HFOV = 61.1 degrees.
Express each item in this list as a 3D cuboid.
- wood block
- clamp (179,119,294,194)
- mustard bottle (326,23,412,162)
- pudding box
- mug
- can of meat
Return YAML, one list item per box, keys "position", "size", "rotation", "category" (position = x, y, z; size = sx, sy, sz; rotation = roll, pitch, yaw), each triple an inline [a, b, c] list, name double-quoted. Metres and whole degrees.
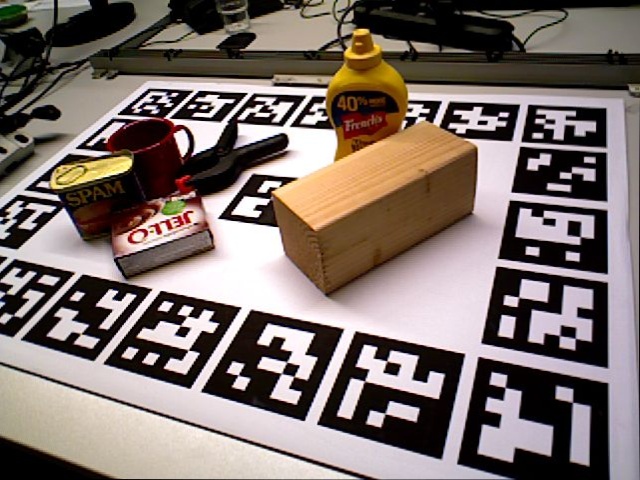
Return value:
- position: [0.068, -0.036, 0.576]
  size: [0.203, 0.093, 0.089]
  rotation: [-26, 42, -19]
  category: "wood block"
- position: [-0.130, -0.115, 0.753]
  size: [0.122, 0.037, 0.162]
  rotation: [26, 56, 33]
  category: "clamp"
- position: [0.057, -0.151, 0.620]
  size: [0.096, 0.195, 0.057]
  rotation: [4, 44, 18]
  category: "mustard bottle"
- position: [-0.185, -0.008, 0.639]
  size: [0.113, 0.039, 0.089]
  rotation: [-18, 42, -9]
  category: "pudding box"
- position: [-0.221, -0.103, 0.754]
  size: [0.093, 0.083, 0.115]
  rotation: [28, 56, 35]
  category: "mug"
- position: [-0.272, -0.056, 0.670]
  size: [0.101, 0.085, 0.057]
  rotation: [-13, 43, -2]
  category: "can of meat"
